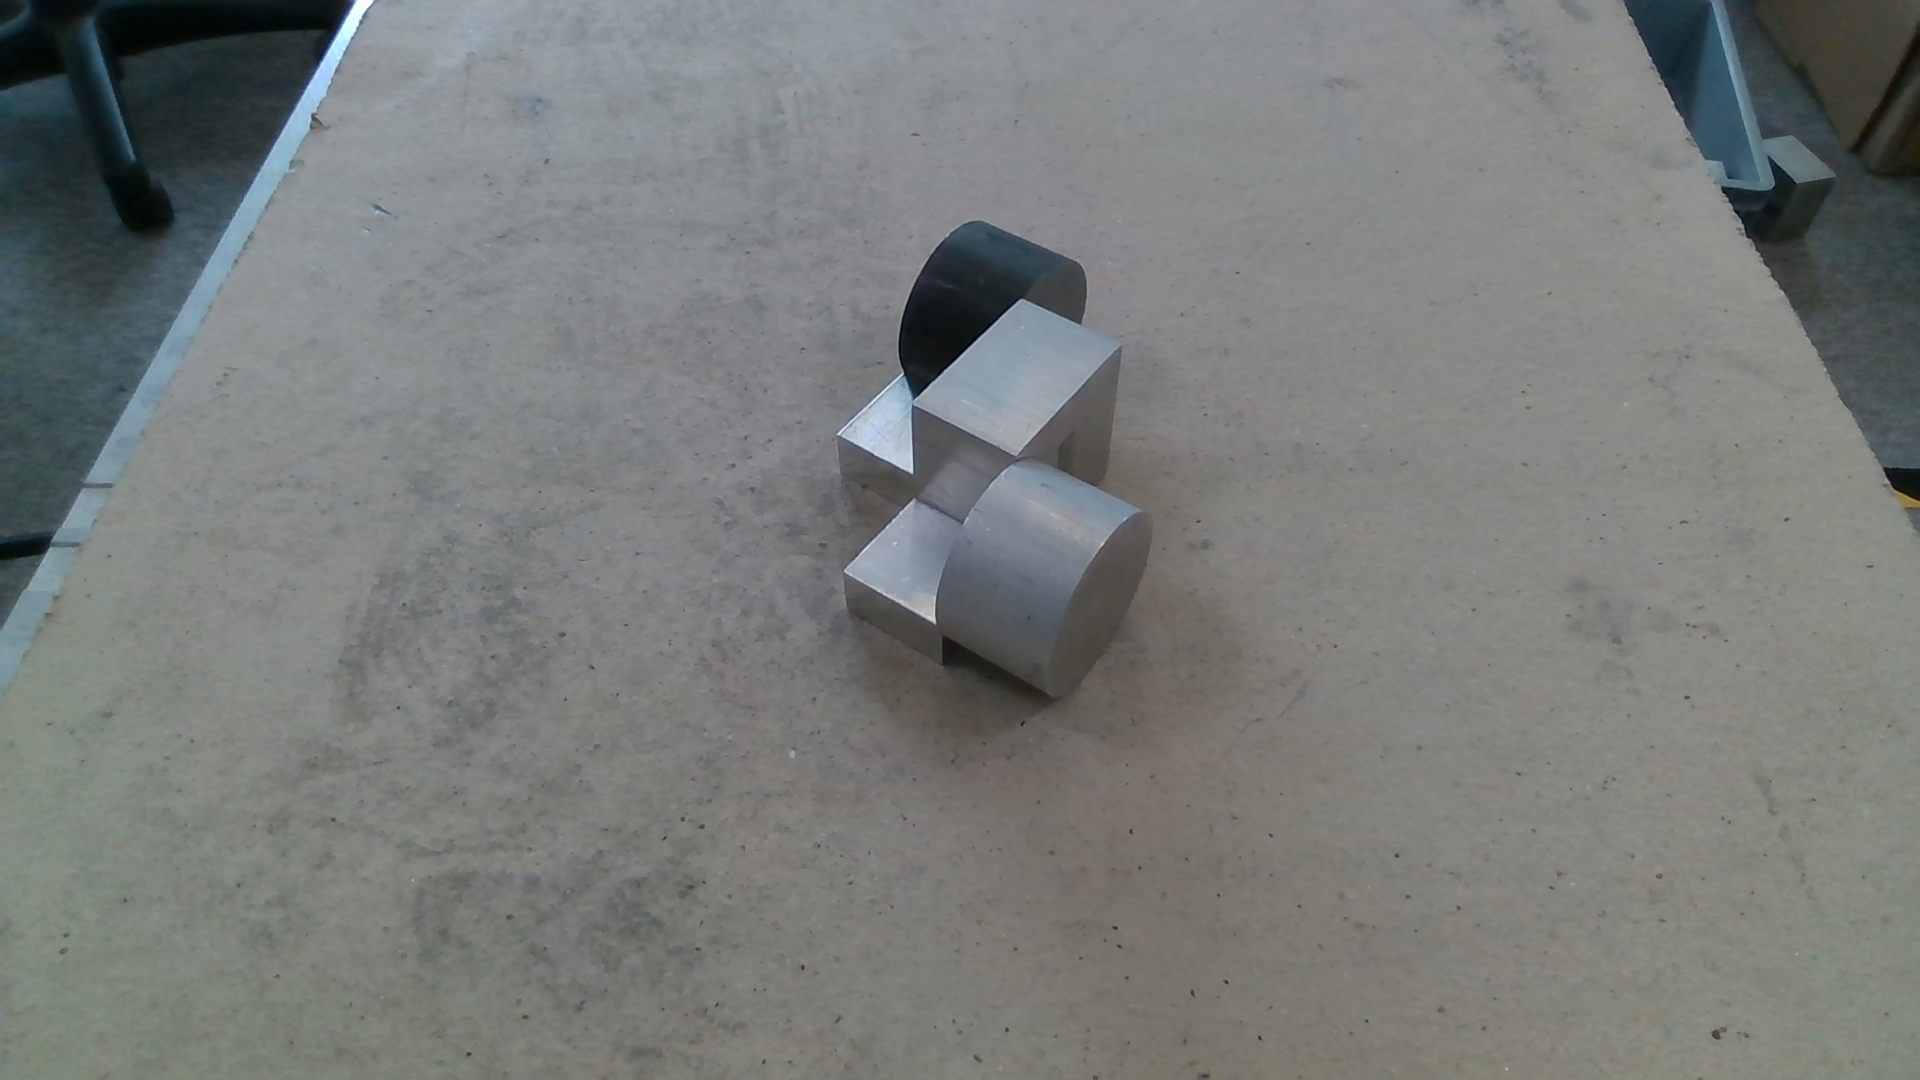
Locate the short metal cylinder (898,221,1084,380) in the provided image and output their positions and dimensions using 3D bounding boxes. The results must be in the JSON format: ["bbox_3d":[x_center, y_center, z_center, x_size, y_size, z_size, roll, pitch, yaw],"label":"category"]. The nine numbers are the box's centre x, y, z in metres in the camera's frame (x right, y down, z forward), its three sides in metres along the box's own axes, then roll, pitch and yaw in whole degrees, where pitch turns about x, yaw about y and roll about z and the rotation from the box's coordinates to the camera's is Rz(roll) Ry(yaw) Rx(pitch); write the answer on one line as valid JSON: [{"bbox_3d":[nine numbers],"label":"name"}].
[{"bbox_3d":[0.016,-0.100,0.635,0.050,0.080,0.080,28,56,22],"label":"short metal cylinder"}]

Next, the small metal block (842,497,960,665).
[{"bbox_3d":[-0.013,0.016,0.575,0.050,0.025,0.050,28,56,22],"label":"small metal block"}]

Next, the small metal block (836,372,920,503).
[{"bbox_3d":[-0.020,-0.043,0.625,0.050,0.025,0.050,28,56,22],"label":"small metal block"}]

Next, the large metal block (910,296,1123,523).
[{"bbox_3d":[0.024,-0.042,0.588,0.050,0.080,0.080,28,56,21],"label":"large metal block"}]

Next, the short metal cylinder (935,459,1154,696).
[{"bbox_3d":[0.034,0.014,0.540,0.050,0.080,0.080,29,56,22],"label":"short metal cylinder"}]
